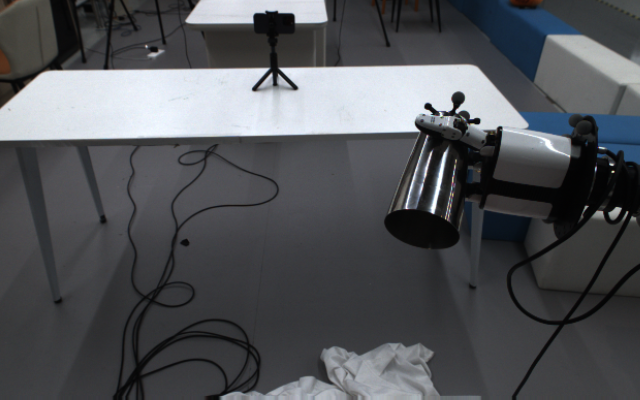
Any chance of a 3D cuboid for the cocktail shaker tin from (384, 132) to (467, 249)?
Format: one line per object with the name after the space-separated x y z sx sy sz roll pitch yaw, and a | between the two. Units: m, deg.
0.150 -0.035 0.632 0.093 0.093 0.170 13 59 16 | cocktail shaker tin
